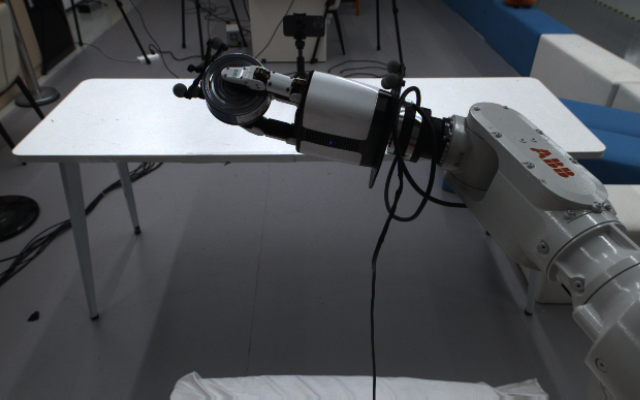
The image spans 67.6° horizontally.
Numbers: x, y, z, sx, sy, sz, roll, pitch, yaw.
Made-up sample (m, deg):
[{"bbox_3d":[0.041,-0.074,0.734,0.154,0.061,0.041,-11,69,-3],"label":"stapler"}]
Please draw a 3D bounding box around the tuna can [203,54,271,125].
[{"bbox_3d":[-0.101,-0.136,0.608,0.085,0.034,0.085,1,77,-6],"label":"tuna can"}]
